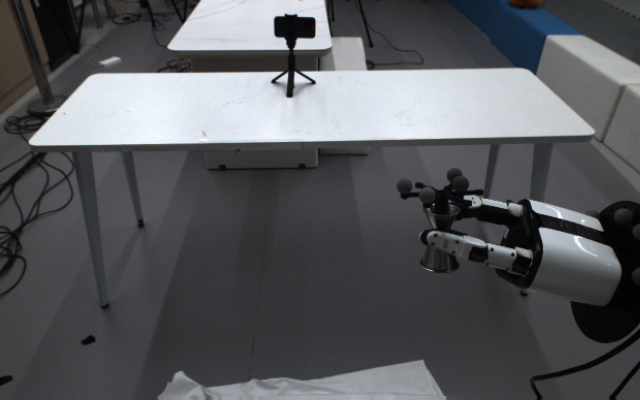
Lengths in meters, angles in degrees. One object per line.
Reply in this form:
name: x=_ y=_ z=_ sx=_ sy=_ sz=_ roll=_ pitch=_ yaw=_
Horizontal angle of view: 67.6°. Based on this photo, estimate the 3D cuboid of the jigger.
jigger: x=0.135 y=0.041 z=0.544 sx=0.043 sy=0.071 sz=0.043 roll=-2 pitch=19 yaw=1
